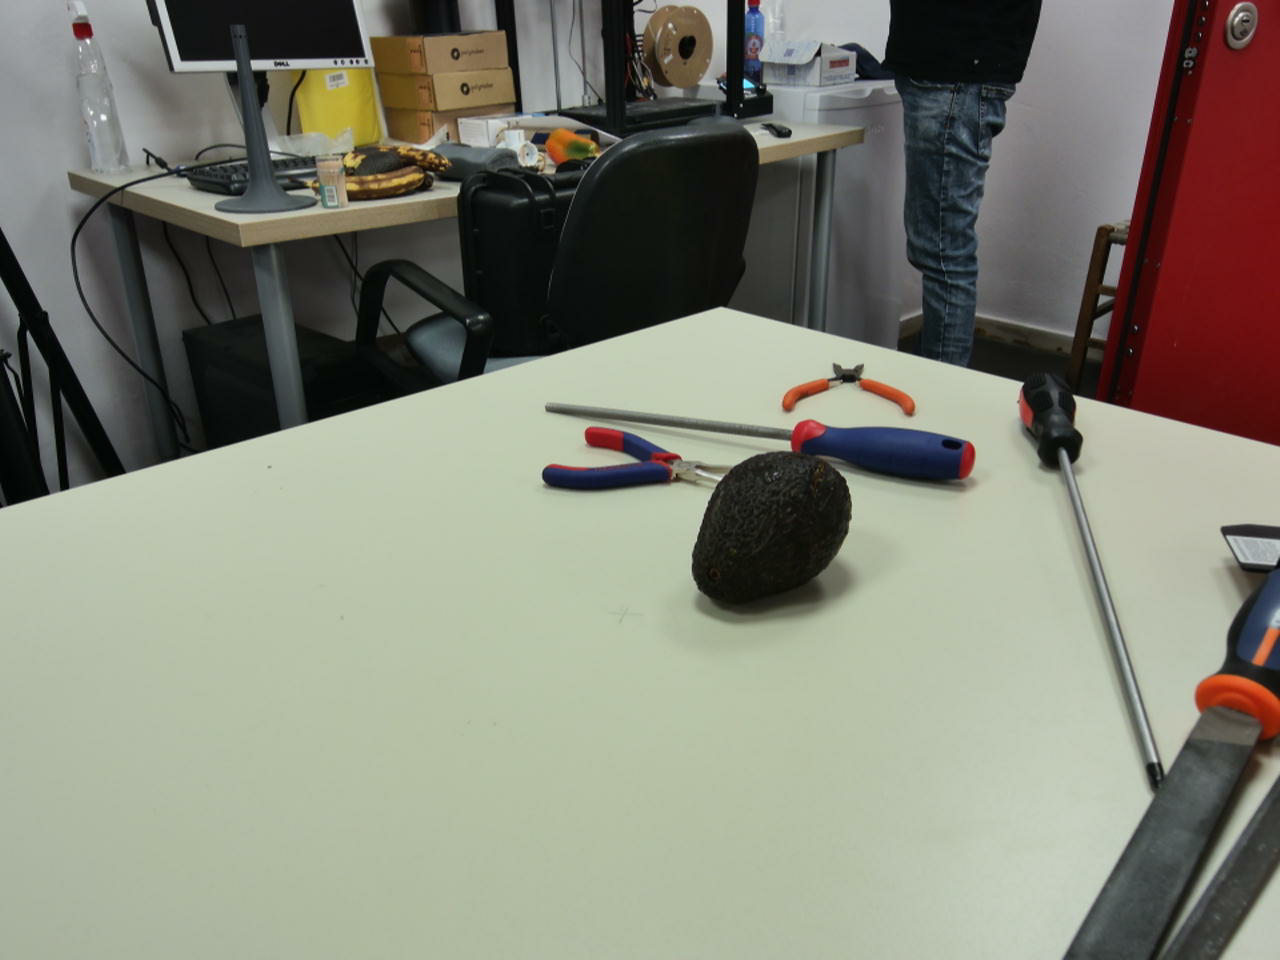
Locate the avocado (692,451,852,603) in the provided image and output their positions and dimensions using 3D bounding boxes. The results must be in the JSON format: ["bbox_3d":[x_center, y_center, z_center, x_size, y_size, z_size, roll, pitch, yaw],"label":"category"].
[{"bbox_3d":[0.066,0.021,0.516,0.090,0.069,0.070,-6,24,-15],"label":"avocado"}]
